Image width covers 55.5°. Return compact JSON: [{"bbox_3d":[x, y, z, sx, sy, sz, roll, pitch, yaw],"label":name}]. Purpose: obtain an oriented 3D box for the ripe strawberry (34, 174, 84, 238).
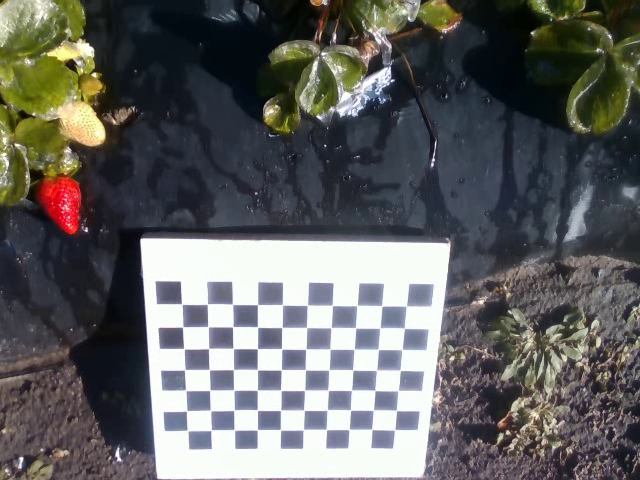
[{"bbox_3d":[-0.228,-0.026,0.529,0.041,0.052,0.040,-16,13,1],"label":"ripe strawberry"}]
